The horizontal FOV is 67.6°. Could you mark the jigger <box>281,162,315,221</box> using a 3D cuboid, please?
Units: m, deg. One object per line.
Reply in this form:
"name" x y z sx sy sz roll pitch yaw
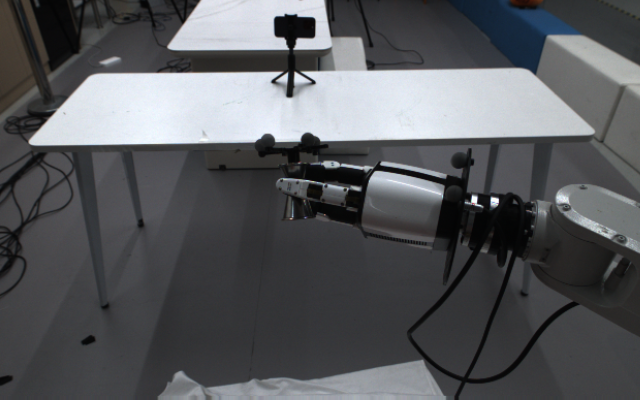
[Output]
"jigger" -0.029 -0.011 0.595 0.043 0.071 0.043 -4 1 0
